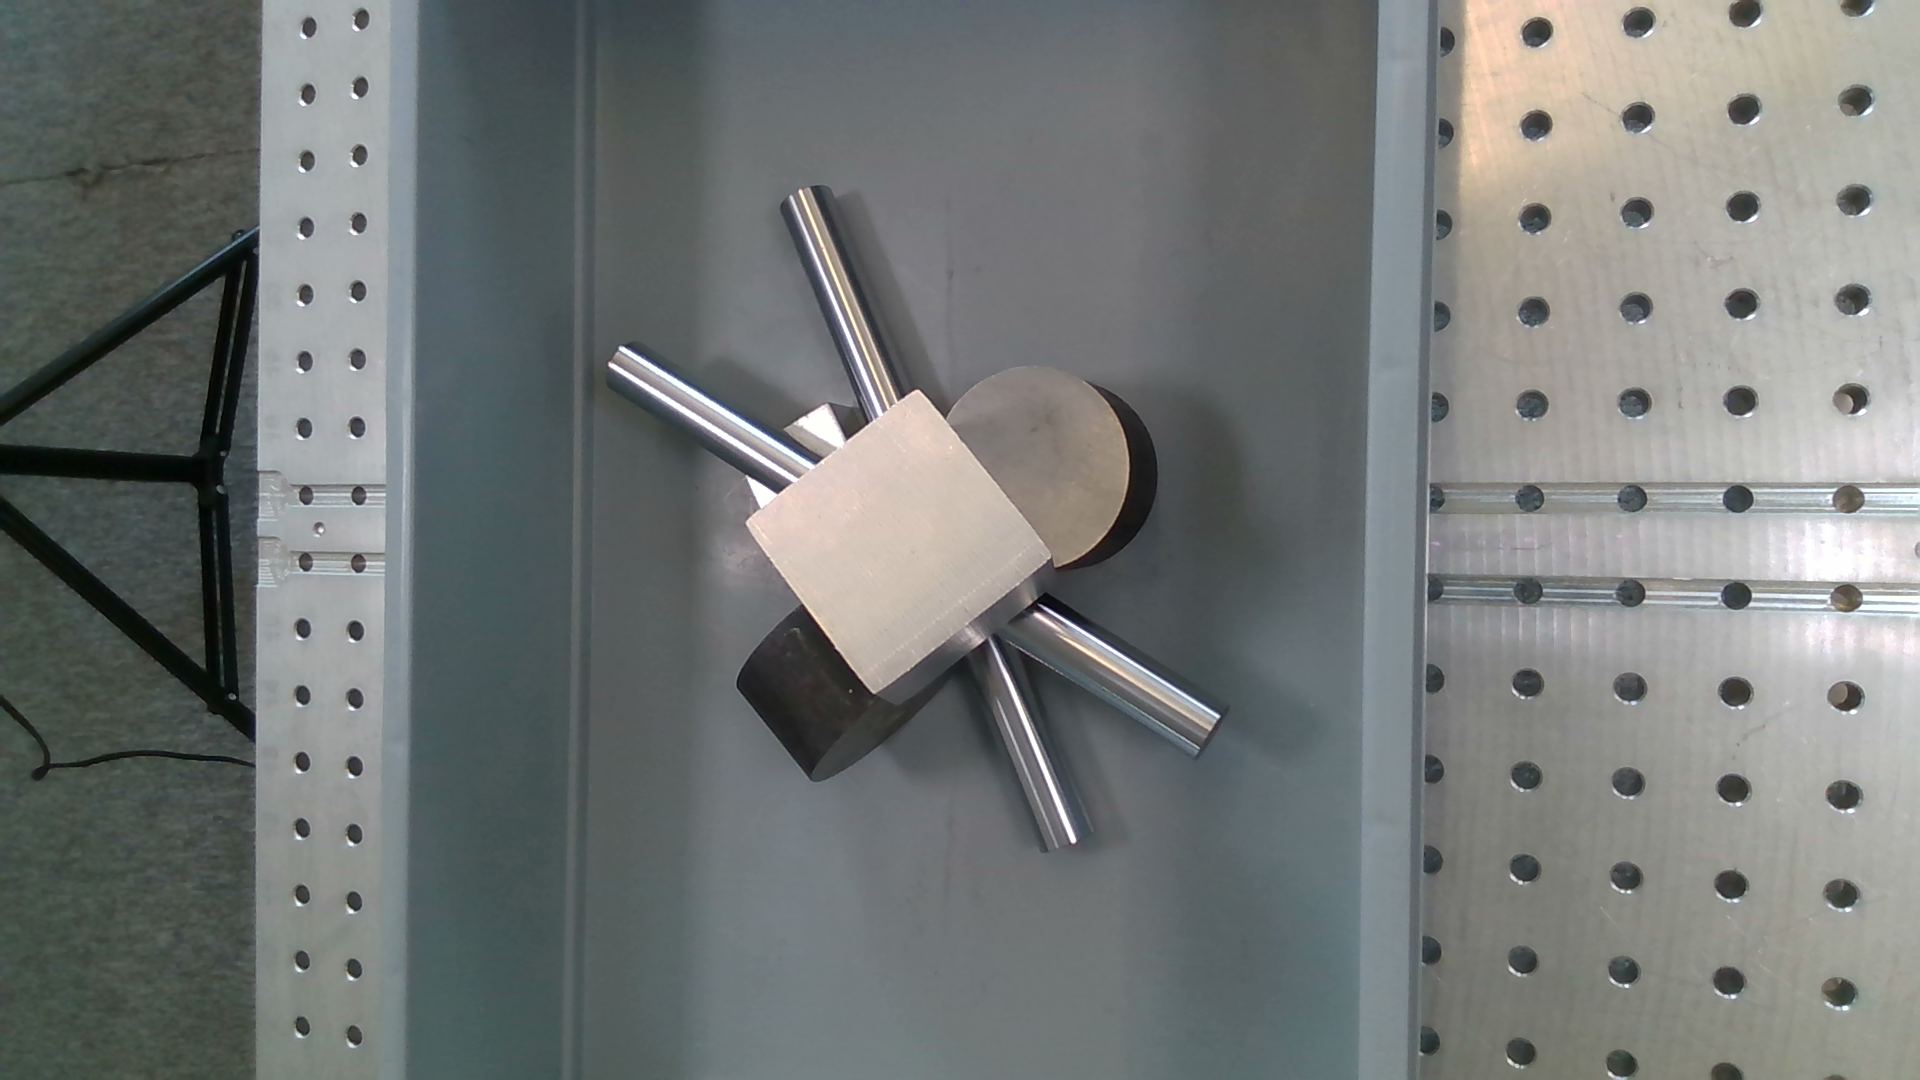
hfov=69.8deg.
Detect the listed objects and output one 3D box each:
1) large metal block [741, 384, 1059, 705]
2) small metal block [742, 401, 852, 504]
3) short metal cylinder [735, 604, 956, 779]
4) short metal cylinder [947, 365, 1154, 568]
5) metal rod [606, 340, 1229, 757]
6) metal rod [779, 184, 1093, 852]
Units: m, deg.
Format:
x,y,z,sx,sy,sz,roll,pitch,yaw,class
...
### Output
x,y,z,sx,sy,sz,roll,pitch,yaw,class
-0.020,0.004,0.511,0.080,0.050,0.080,-38,77,-1,large metal block
-0.063,-0.026,0.608,0.050,0.025,0.050,-30,81,18,small metal block
-0.046,0.055,0.573,0.080,0.080,0.050,-45,75,15,short metal cylinder
0.035,-0.028,0.558,0.080,0.050,0.080,0,91,20,short metal cylinder
-0.026,-0.002,0.568,0.300,0.025,0.025,32,101,17,metal rod
-0.012,-0.013,0.589,0.025,0.025,0.300,-25,82,19,metal rod
